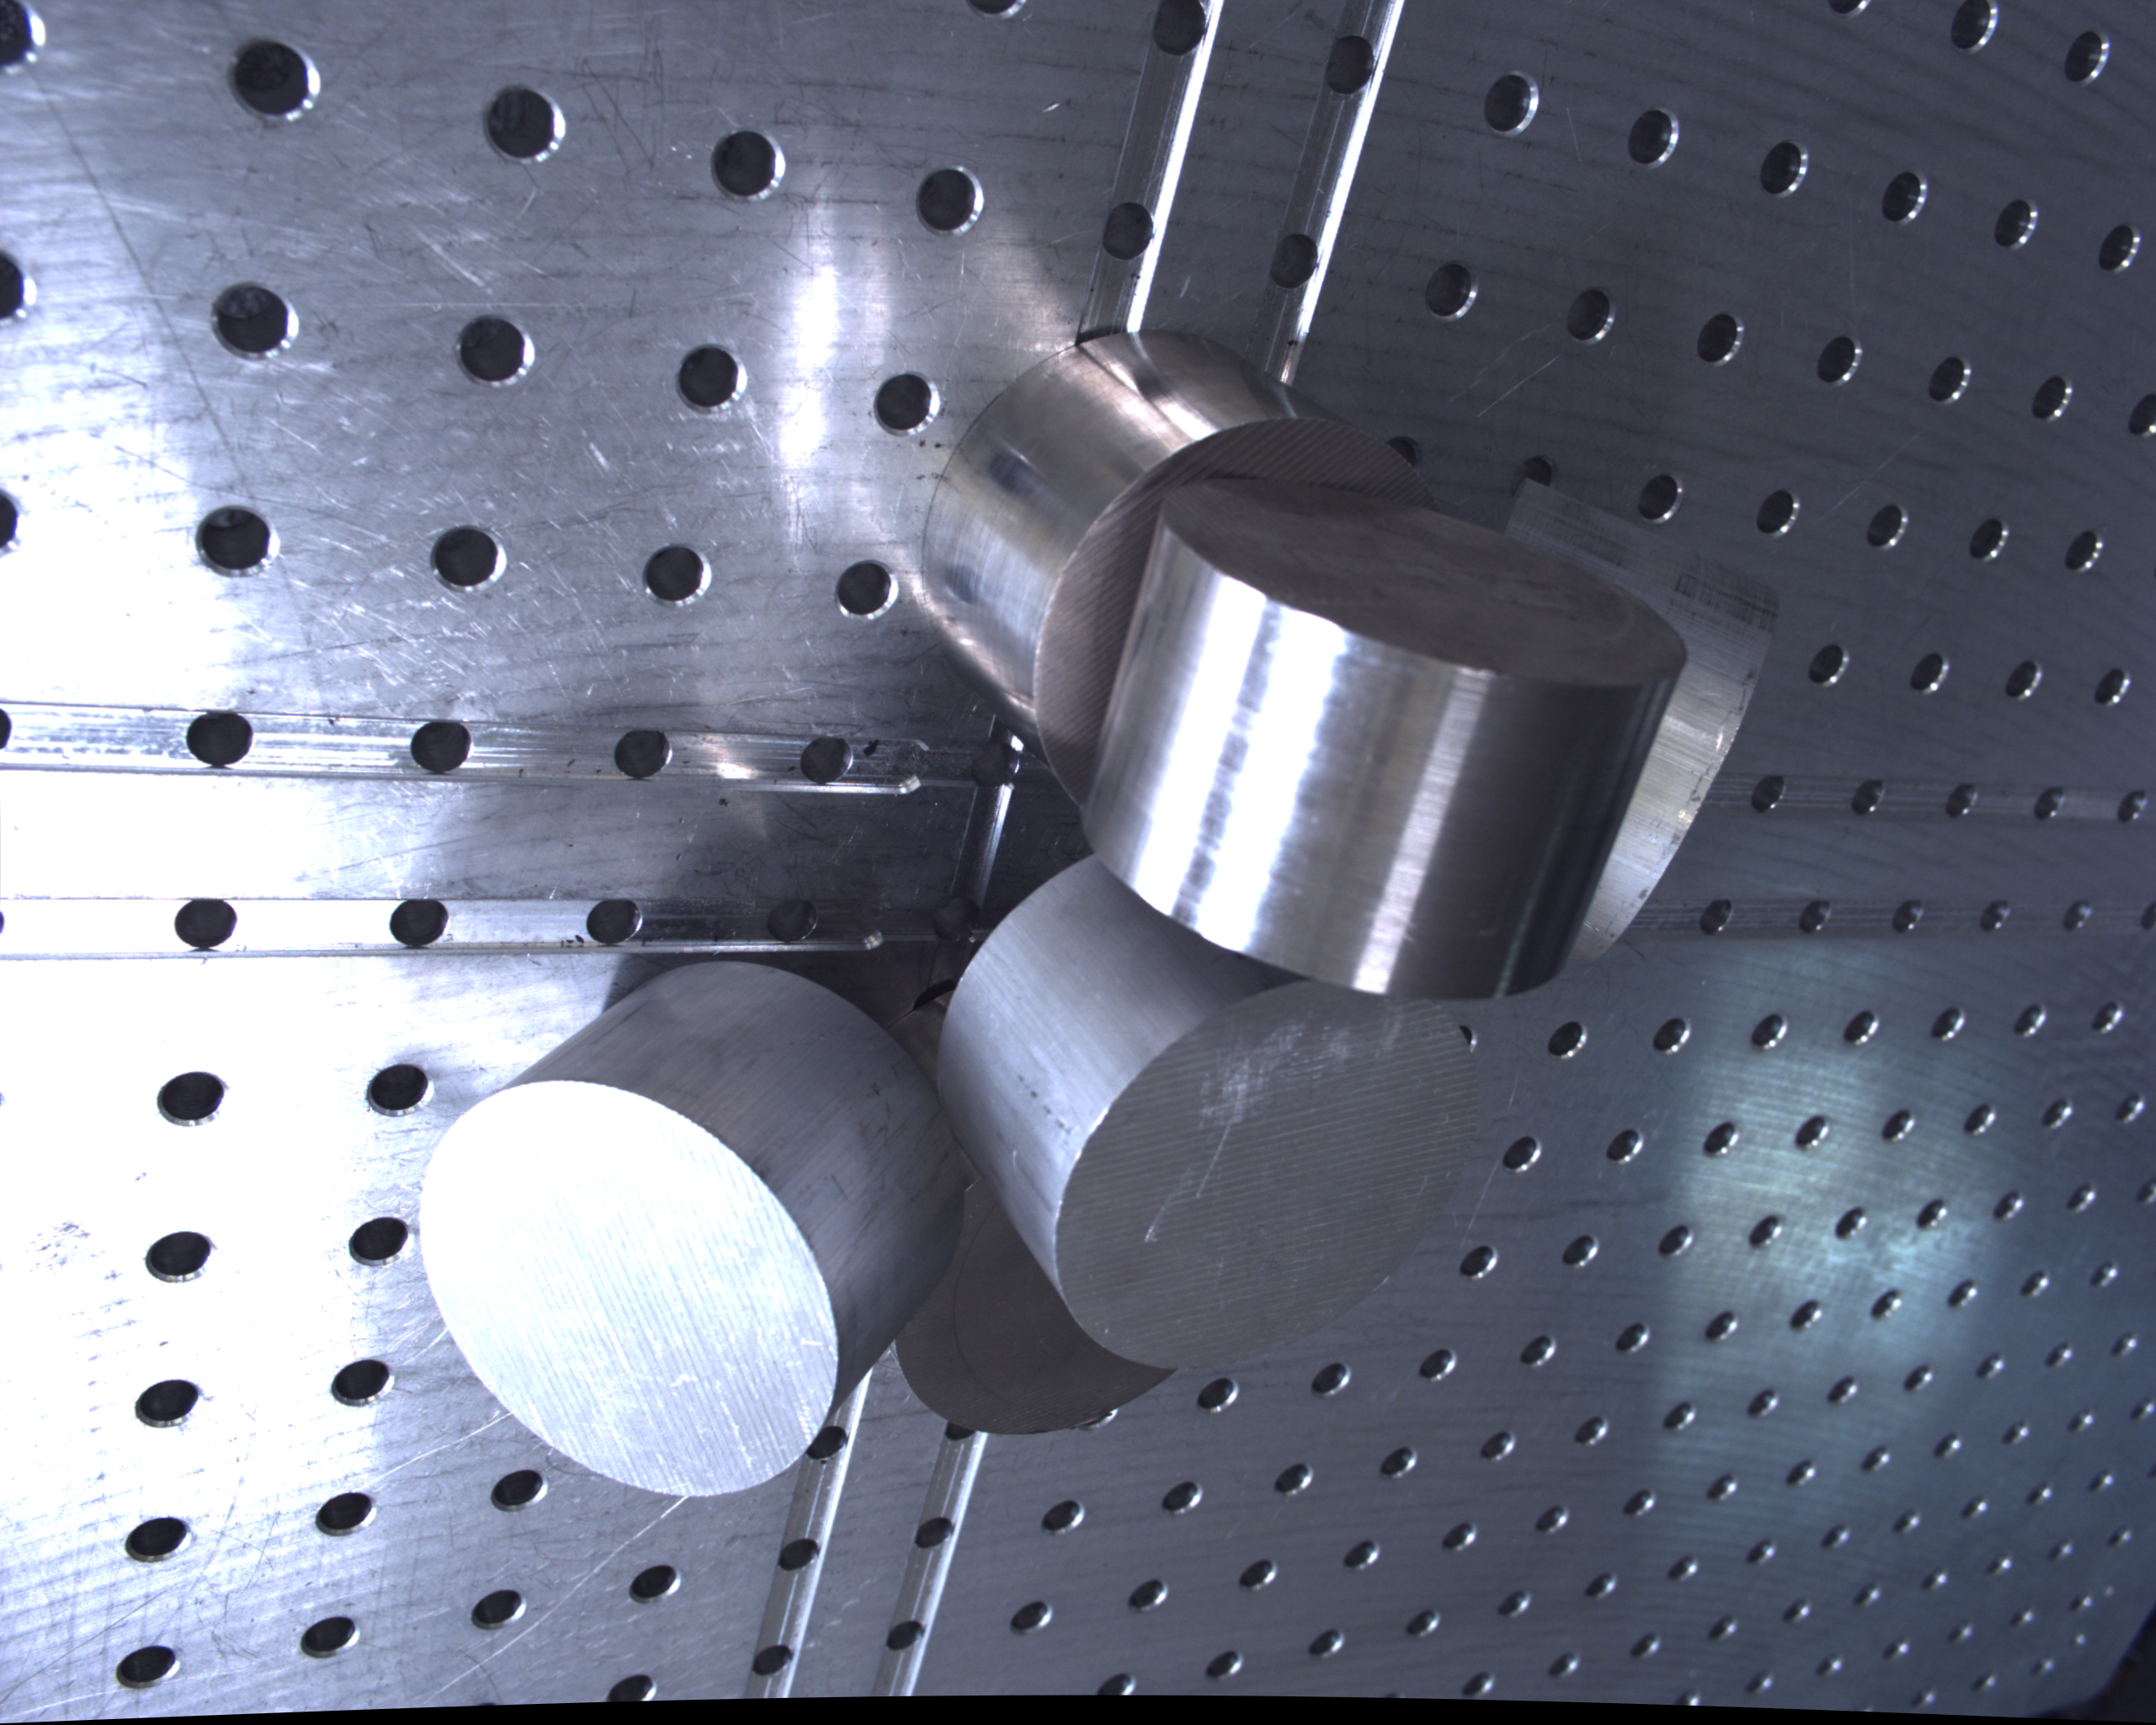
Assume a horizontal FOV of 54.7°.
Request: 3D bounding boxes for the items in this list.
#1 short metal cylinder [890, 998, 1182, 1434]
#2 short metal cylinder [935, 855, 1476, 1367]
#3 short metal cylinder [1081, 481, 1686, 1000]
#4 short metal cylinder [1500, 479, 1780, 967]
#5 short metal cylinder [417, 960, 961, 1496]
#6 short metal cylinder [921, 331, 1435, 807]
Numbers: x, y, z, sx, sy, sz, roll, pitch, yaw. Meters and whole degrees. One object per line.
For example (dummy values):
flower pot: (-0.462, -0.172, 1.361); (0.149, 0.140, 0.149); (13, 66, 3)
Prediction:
short metal cylinder: (-0.010, 0.071, 0.432); (0.081, 0.050, 0.079); (-14, 125, -21)
short metal cylinder: (0.022, 0.041, 0.366); (0.081, 0.050, 0.079); (-14, 124, -21)
short metal cylinder: (0.045, -0.021, 0.321); (0.081, 0.080, 0.050); (0, 118, -29)
short metal cylinder: (0.091, -0.027, 0.400); (0.050, 0.080, 0.079); (26, 109, 5)
short metal cylinder: (-0.068, 0.064, 0.371); (0.050, 0.080, 0.079); (-46, 152, -60)
short metal cylinder: (0.019, -0.049, 0.374); (0.081, 0.050, 0.079); (-14, 125, -21)
